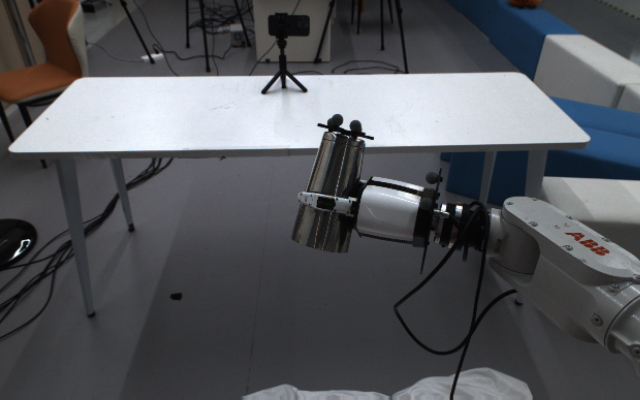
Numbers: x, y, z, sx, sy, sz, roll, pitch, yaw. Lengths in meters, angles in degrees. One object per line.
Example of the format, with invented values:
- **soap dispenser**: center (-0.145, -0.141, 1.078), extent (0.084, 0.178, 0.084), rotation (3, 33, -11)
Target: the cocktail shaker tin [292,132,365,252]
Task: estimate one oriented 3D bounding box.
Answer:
- **cocktail shaker tin**: center (0.019, -0.014, 0.743), extent (0.093, 0.170, 0.093), rotation (13, 5, -1)
